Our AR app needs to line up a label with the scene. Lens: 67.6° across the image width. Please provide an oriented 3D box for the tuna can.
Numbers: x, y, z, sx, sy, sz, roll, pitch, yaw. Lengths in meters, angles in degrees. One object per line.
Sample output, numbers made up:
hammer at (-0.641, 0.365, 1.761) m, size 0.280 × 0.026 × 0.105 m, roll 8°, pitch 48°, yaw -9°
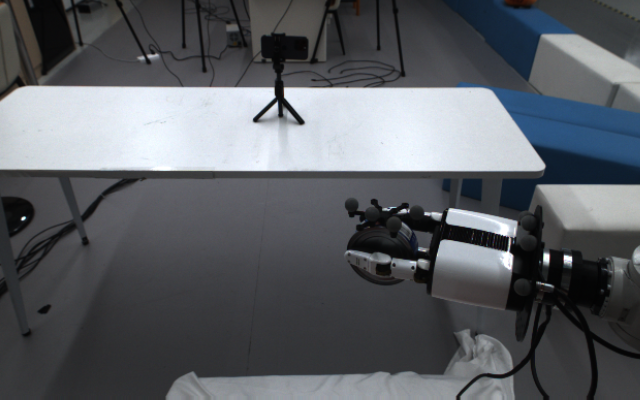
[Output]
tuna can at (0.081, 0.060, 0.608) m, size 0.085 × 0.085 × 0.034 m, roll 13°, pitch 29°, yaw 16°
